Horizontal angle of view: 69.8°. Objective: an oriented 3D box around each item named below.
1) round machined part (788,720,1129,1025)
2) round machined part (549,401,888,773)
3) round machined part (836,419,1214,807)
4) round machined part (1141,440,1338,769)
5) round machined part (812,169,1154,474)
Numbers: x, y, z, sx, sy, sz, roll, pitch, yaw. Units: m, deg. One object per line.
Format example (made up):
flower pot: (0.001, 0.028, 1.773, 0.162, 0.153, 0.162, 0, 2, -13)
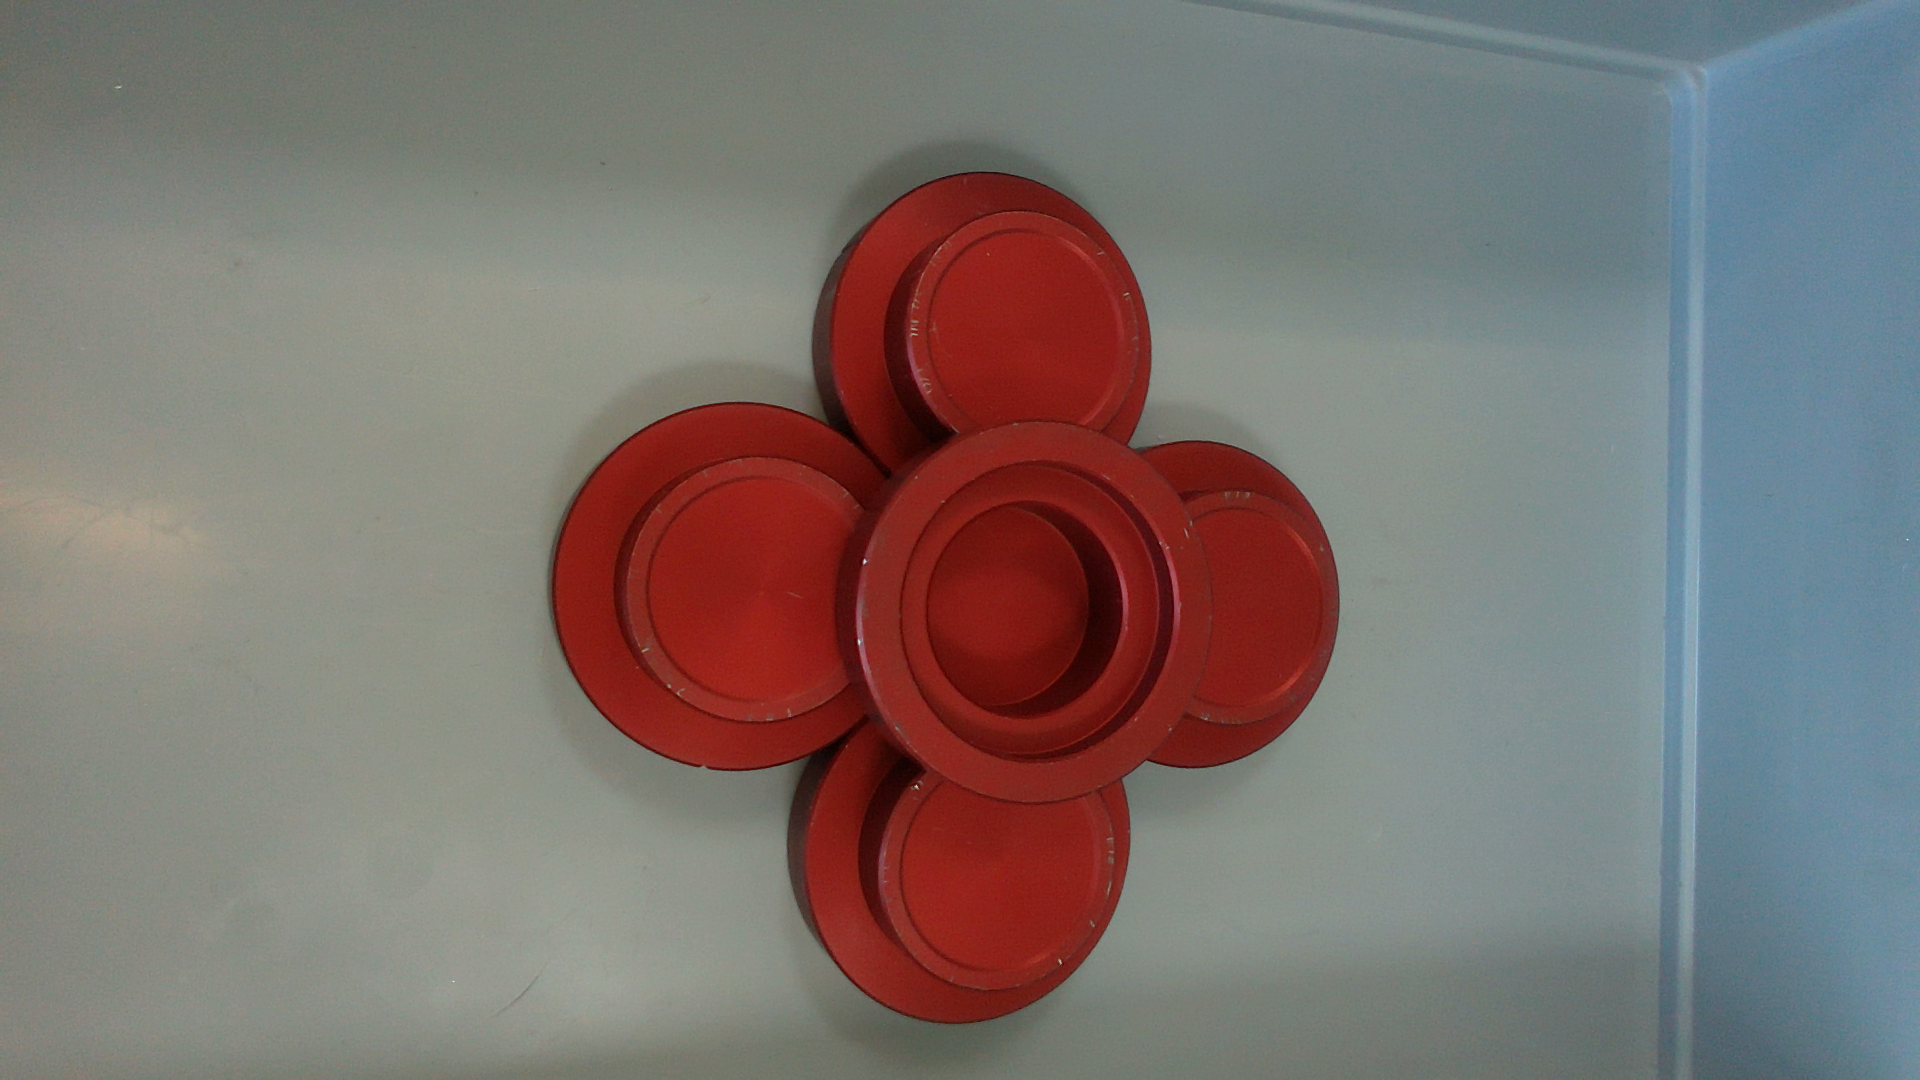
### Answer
round machined part: (0.004, 0.086, 0.384, 0.098, 0.042, 0.098, 1, 88, -21)
round machined part: (-0.057, 0.012, 0.362, 0.098, 0.042, 0.098, 0, 90, -20)
round machined part: (0.014, 0.018, 0.366, 0.098, 0.042, 0.098, 0, 90, -20)
round machined part: (0.072, 0.019, 0.409, 0.098, 0.042, 0.098, 0, 90, -20)
round machined part: (0.011, -0.055, 0.386, 0.098, 0.042, 0.098, 0, 90, -20)
